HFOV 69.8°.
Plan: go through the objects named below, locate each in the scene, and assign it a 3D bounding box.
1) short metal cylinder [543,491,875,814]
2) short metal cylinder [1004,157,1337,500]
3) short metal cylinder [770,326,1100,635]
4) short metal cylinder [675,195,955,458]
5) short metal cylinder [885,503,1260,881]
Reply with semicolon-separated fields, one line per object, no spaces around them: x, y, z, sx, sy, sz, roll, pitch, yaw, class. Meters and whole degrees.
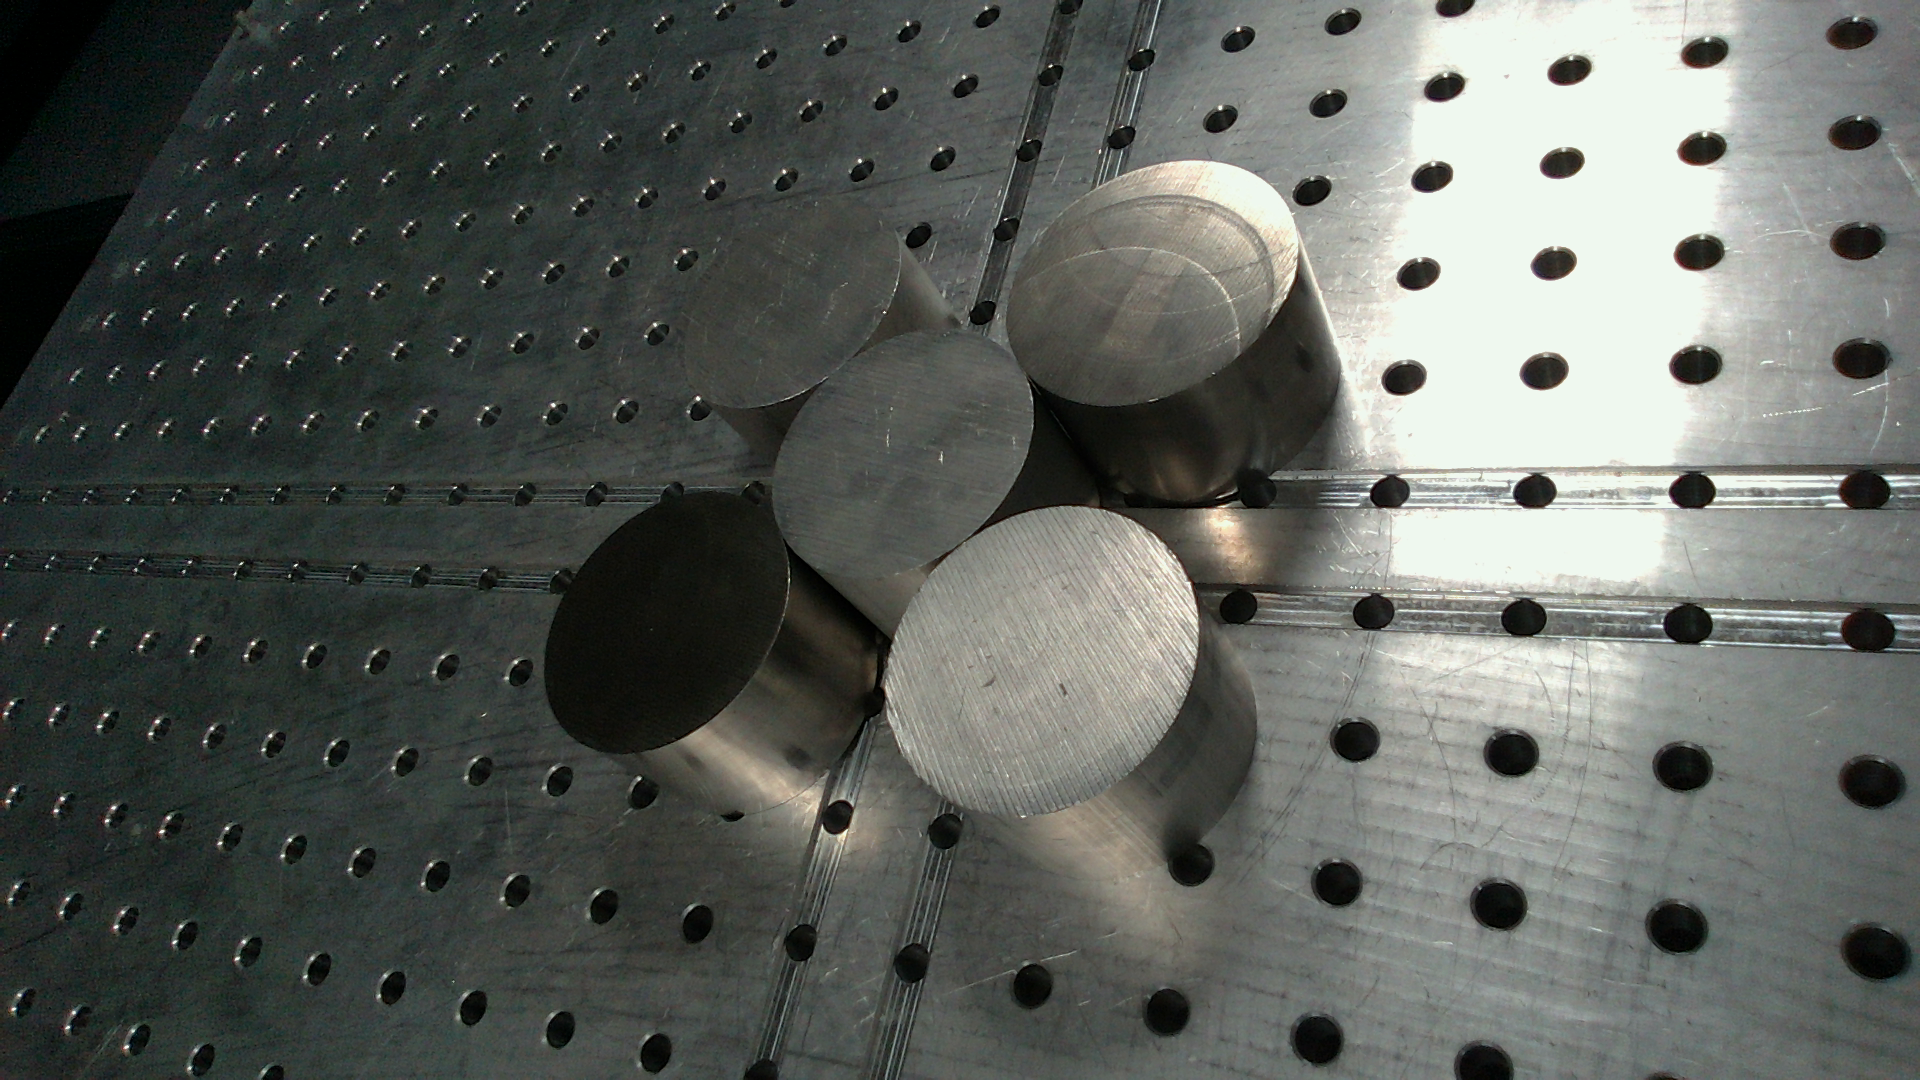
-0.072;0.033;0.398;0.080;0.050;0.080;-14;56;21;short metal cylinder
0.059;-0.058;0.382;0.080;0.050;0.080;-14;56;21;short metal cylinder
-0.006;-0.013;0.392;0.080;0.050;0.080;-14;56;21;short metal cylinder
-0.043;-0.063;0.442;0.080;0.050;0.080;-14;56;21;short metal cylinder
0.028;0.038;0.341;0.080;0.050;0.080;-14;56;21;short metal cylinder
